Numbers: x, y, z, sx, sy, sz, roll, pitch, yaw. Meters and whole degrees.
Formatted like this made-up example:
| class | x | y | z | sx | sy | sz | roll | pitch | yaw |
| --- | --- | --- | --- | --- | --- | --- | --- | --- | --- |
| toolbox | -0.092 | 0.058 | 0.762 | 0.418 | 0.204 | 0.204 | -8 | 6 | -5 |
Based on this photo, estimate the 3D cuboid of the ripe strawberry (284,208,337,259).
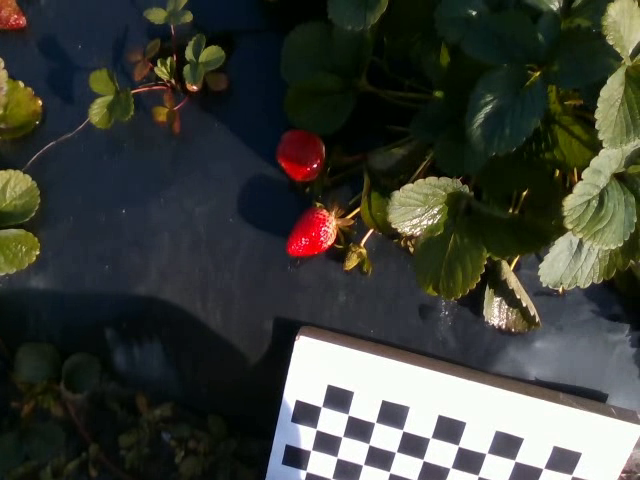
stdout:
| class | x | y | z | sx | sy | sz | roll | pitch | yaw |
| --- | --- | --- | --- | --- | --- | --- | --- | --- | --- |
| ripe strawberry | -0.009 | -0.006 | 0.523 | 0.053 | 0.043 | 0.038 | -37 | 10 | -23 |

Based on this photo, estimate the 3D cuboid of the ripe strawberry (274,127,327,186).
| class | x | y | z | sx | sy | sz | roll | pitch | yaw |
| --- | --- | --- | --- | --- | --- | --- | --- | --- | --- |
| ripe strawberry | -0.017 | -0.073 | 0.541 | 0.054 | 0.048 | 0.039 | 23 | 20 | -23 |
